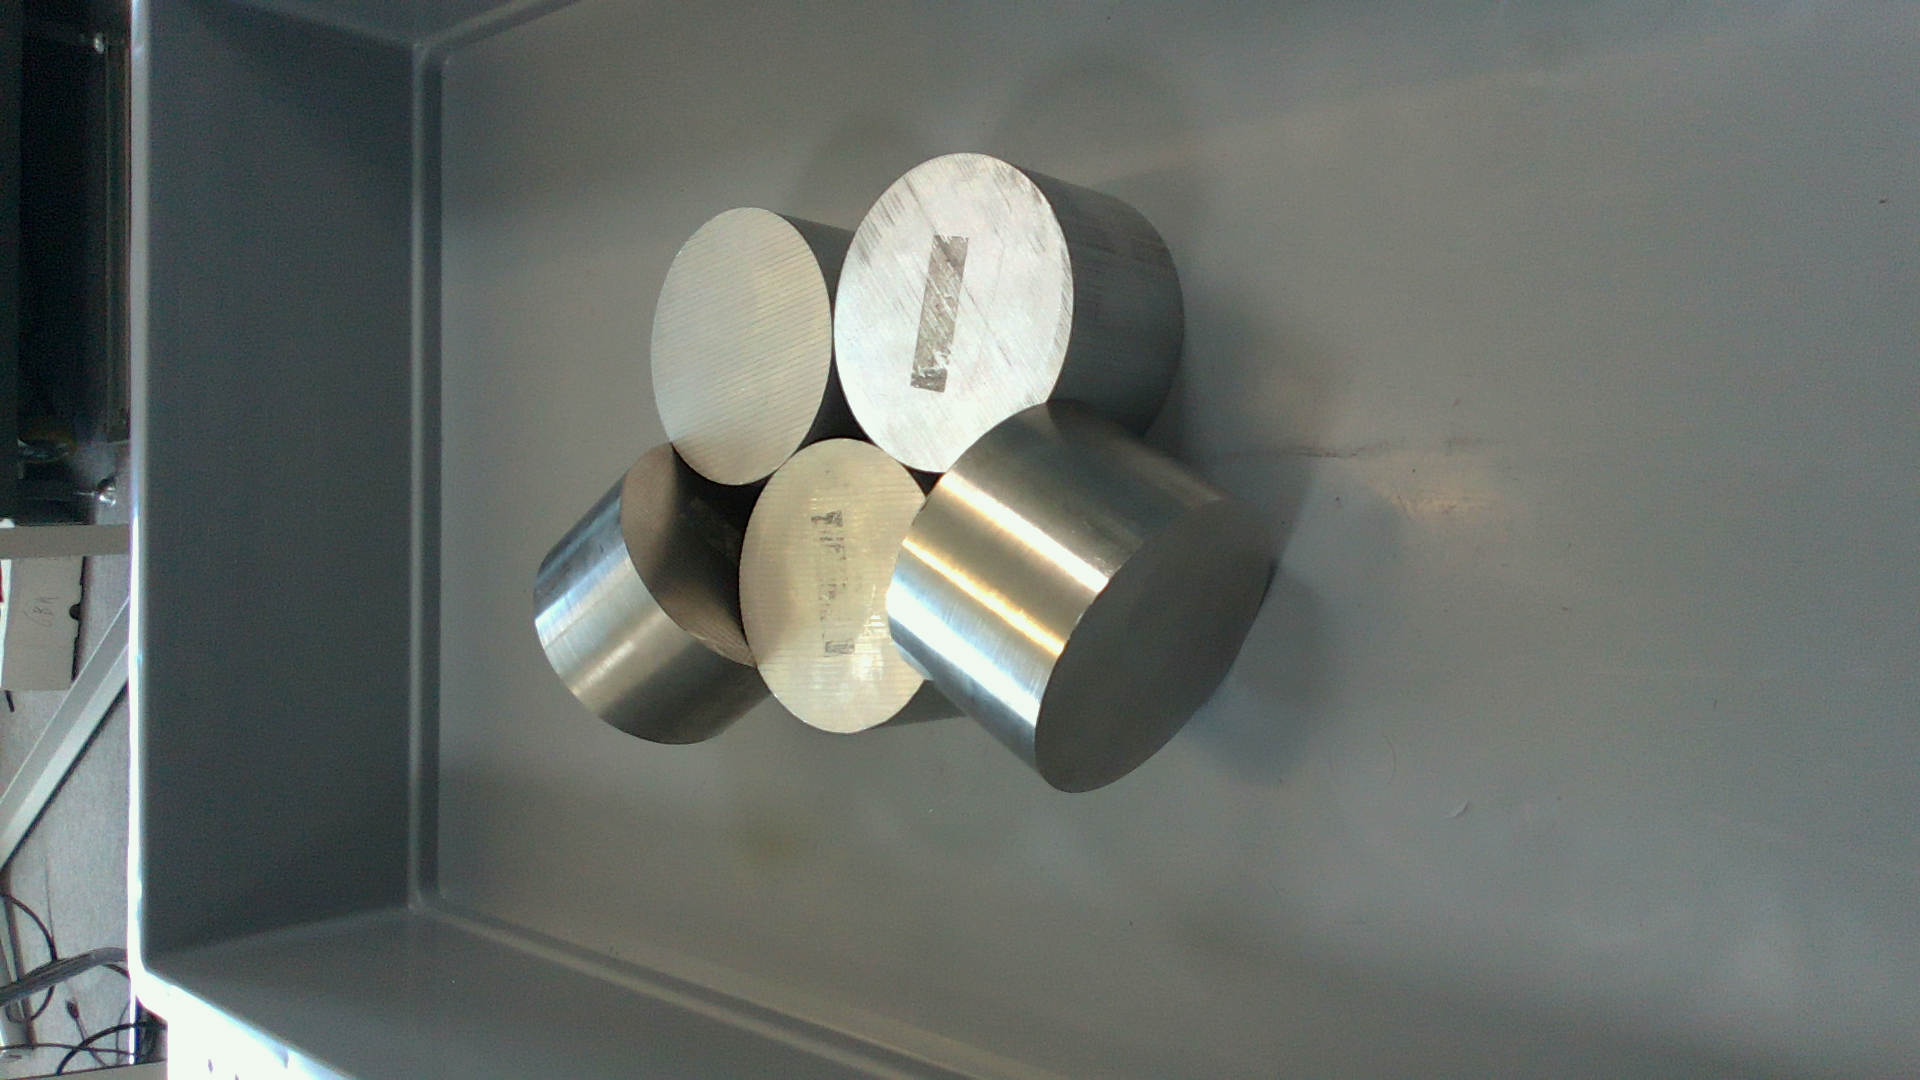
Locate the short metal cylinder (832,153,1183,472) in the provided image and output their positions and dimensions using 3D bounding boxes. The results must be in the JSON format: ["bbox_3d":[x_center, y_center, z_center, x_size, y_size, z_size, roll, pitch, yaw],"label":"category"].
[{"bbox_3d":[0.012,-0.057,0.367,0.080,0.050,0.080,0,90,40],"label":"short metal cylinder"}]

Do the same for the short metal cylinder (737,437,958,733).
[{"bbox_3d":[-0.018,0.012,0.392,0.080,0.050,0.080,0,90,40],"label":"short metal cylinder"}]

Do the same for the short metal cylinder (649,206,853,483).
[{"bbox_3d":[-0.049,-0.057,0.418,0.080,0.050,0.080,0,90,40],"label":"short metal cylinder"}]

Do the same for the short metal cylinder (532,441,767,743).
[{"bbox_3d":[-0.084,0.016,0.428,0.050,0.080,0.080,-37,67,34],"label":"short metal cylinder"}]

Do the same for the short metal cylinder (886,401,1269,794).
[{"bbox_3d":[0.029,0.013,0.333,0.050,0.080,0.080,36,113,34],"label":"short metal cylinder"}]
